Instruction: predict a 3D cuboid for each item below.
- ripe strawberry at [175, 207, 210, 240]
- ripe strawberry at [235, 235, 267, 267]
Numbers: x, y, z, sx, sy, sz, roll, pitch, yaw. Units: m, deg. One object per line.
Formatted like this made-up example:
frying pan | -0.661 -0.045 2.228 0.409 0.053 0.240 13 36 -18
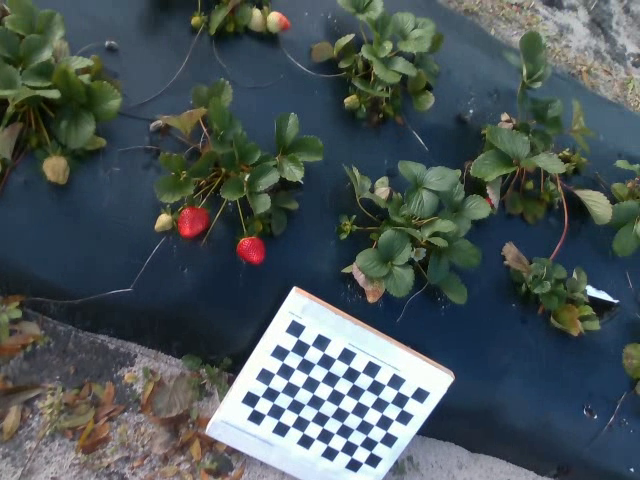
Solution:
ripe strawberry | -0.124 -0.015 0.778 0.035 0.041 0.036 16 42 -6
ripe strawberry | -0.064 0.015 0.798 0.037 0.039 0.034 -42 -52 20
